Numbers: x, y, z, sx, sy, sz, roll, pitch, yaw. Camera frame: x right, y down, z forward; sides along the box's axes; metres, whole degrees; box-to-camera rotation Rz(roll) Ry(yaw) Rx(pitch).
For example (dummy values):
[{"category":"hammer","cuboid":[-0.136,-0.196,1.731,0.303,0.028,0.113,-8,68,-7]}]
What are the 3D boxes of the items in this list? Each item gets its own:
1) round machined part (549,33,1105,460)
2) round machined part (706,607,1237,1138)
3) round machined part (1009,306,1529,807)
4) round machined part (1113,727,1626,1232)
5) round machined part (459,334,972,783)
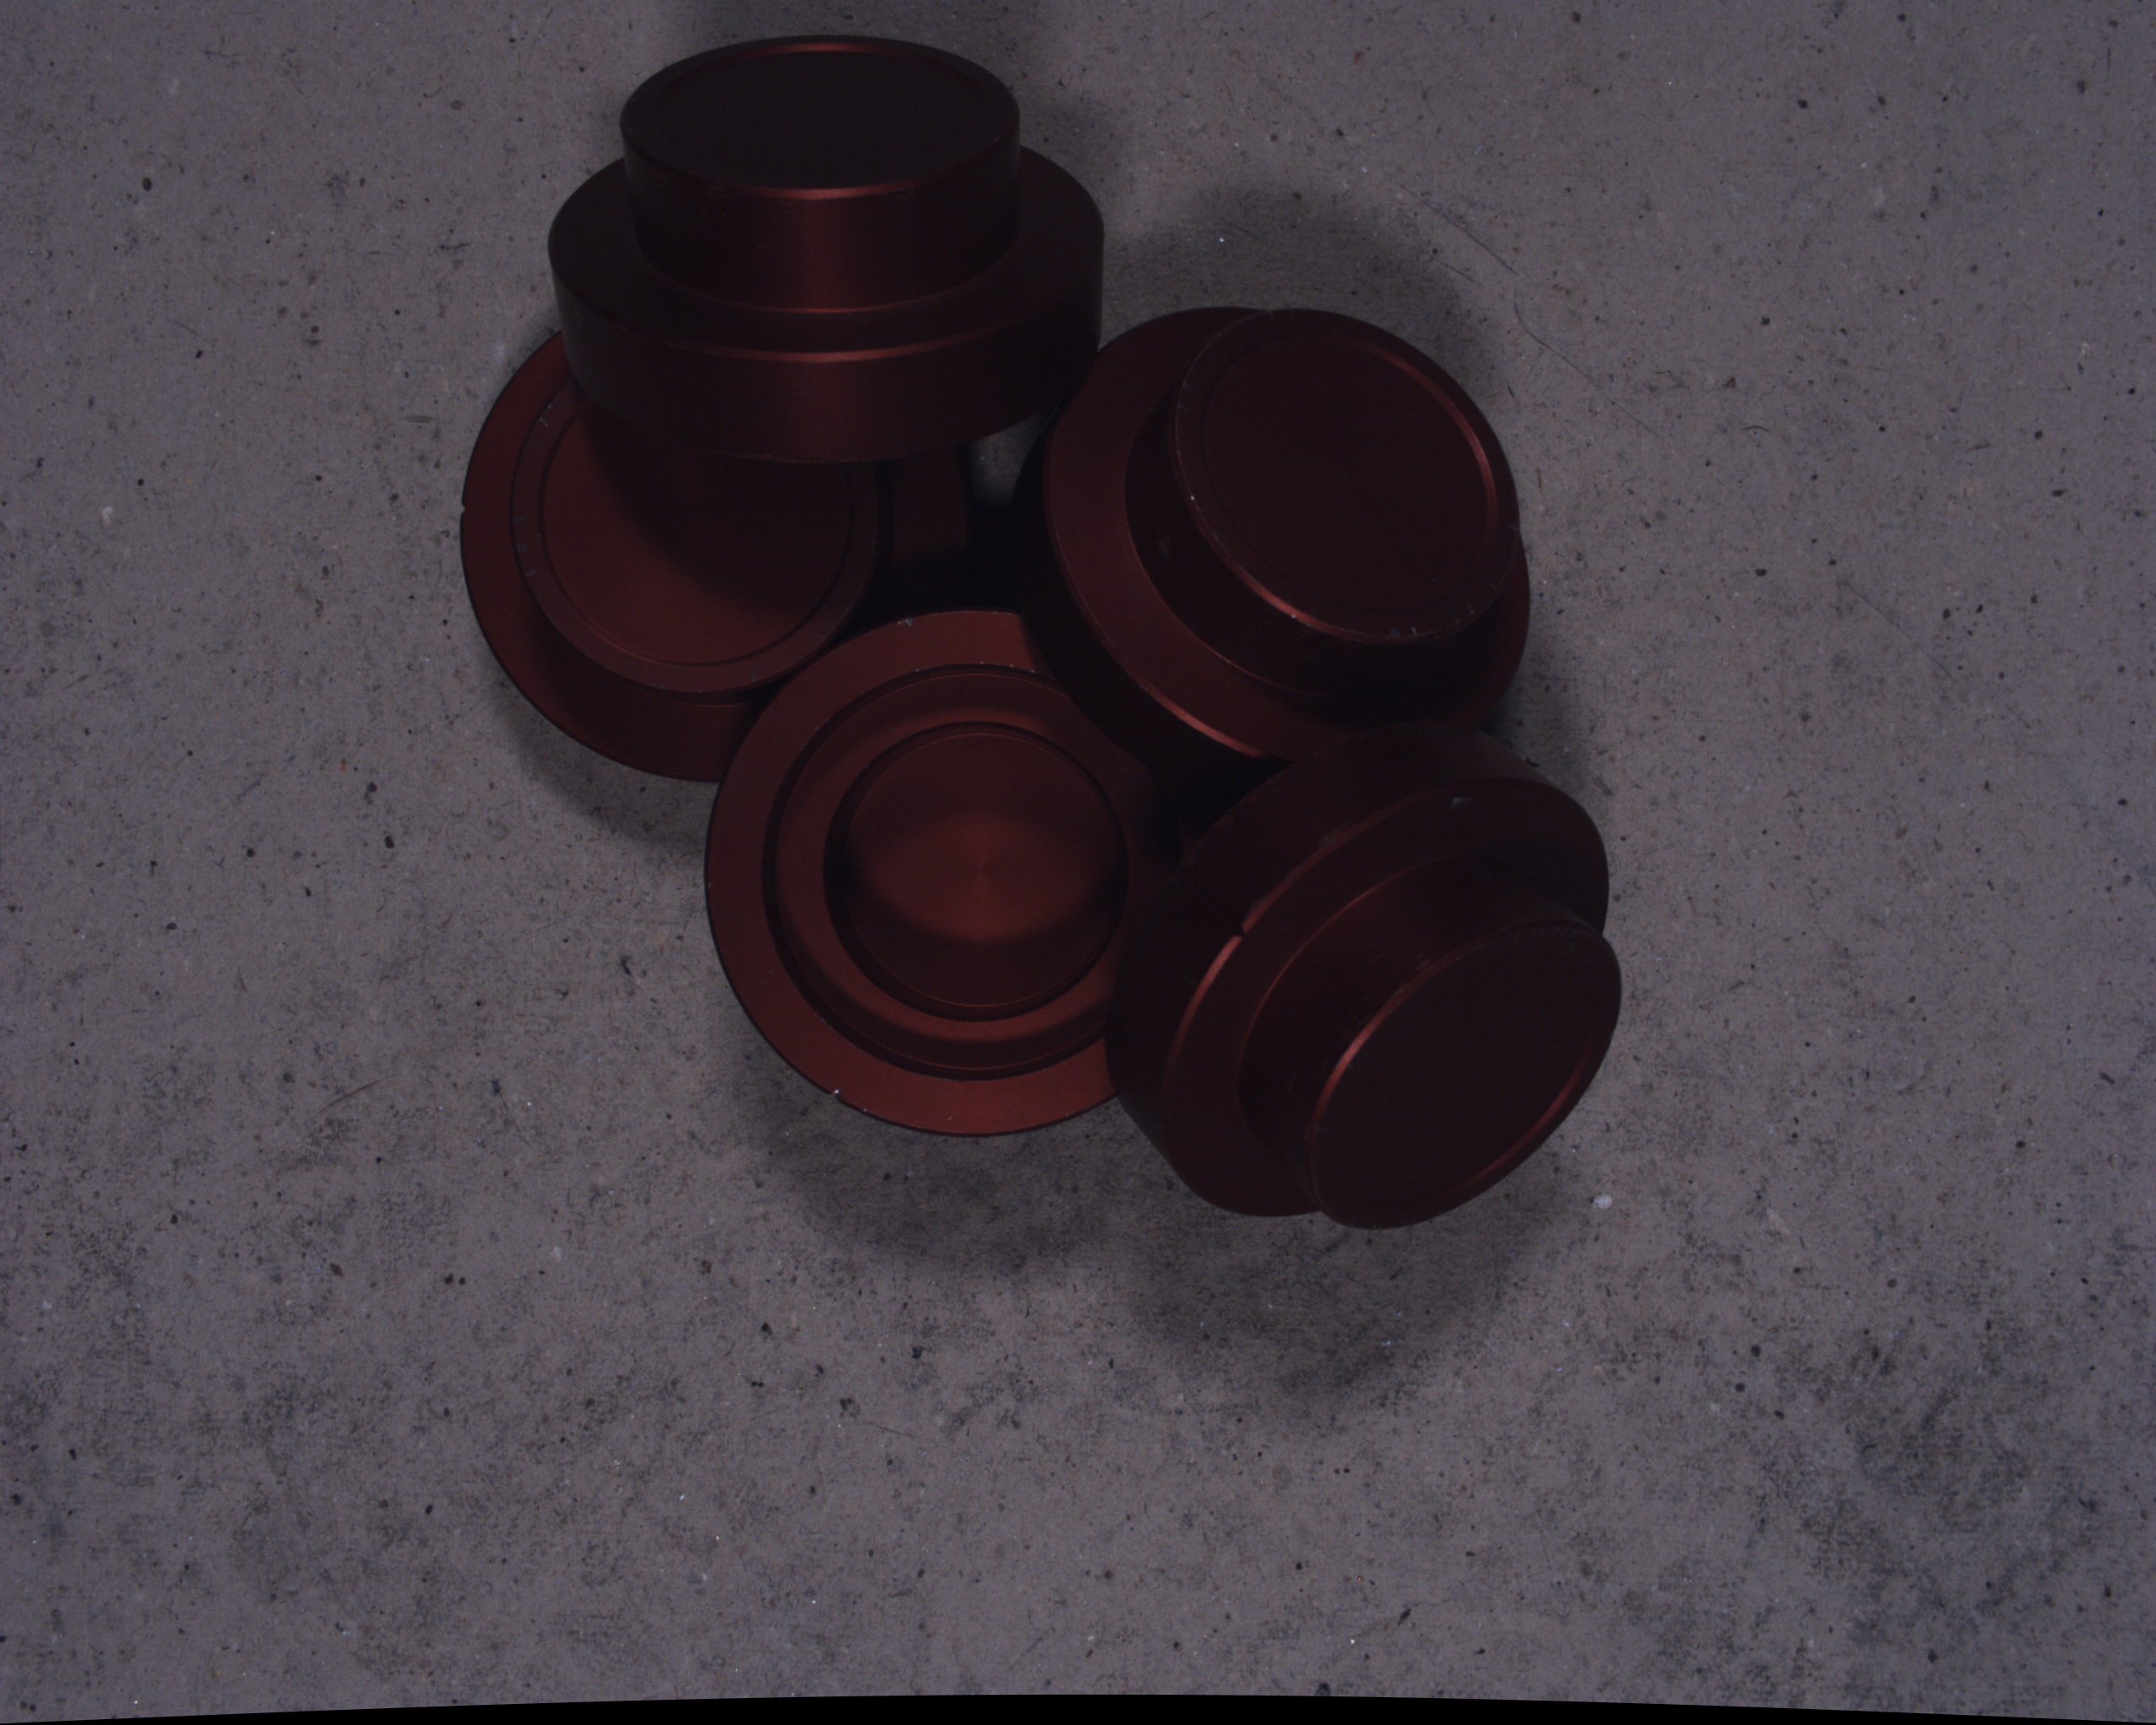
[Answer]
[{"category":"round machined part","cuboid":[-0.044,-0.115,0.373,0.099,0.098,0.042,1,132,-1]},{"category":"round machined part","cuboid":[-0.019,0.002,0.402,0.099,0.042,0.097,0,90,-1]},{"category":"round machined part","cuboid":[0.040,-0.061,0.381,0.099,0.042,0.098,9,65,-19]},{"category":"round machined part","cuboid":[0.059,0.028,0.376,0.098,0.098,0.042,-43,50,0]},{"category":"round machined part","cuboid":[-0.070,-0.064,0.403,0.099,0.042,0.097,0,90,-1]}]
